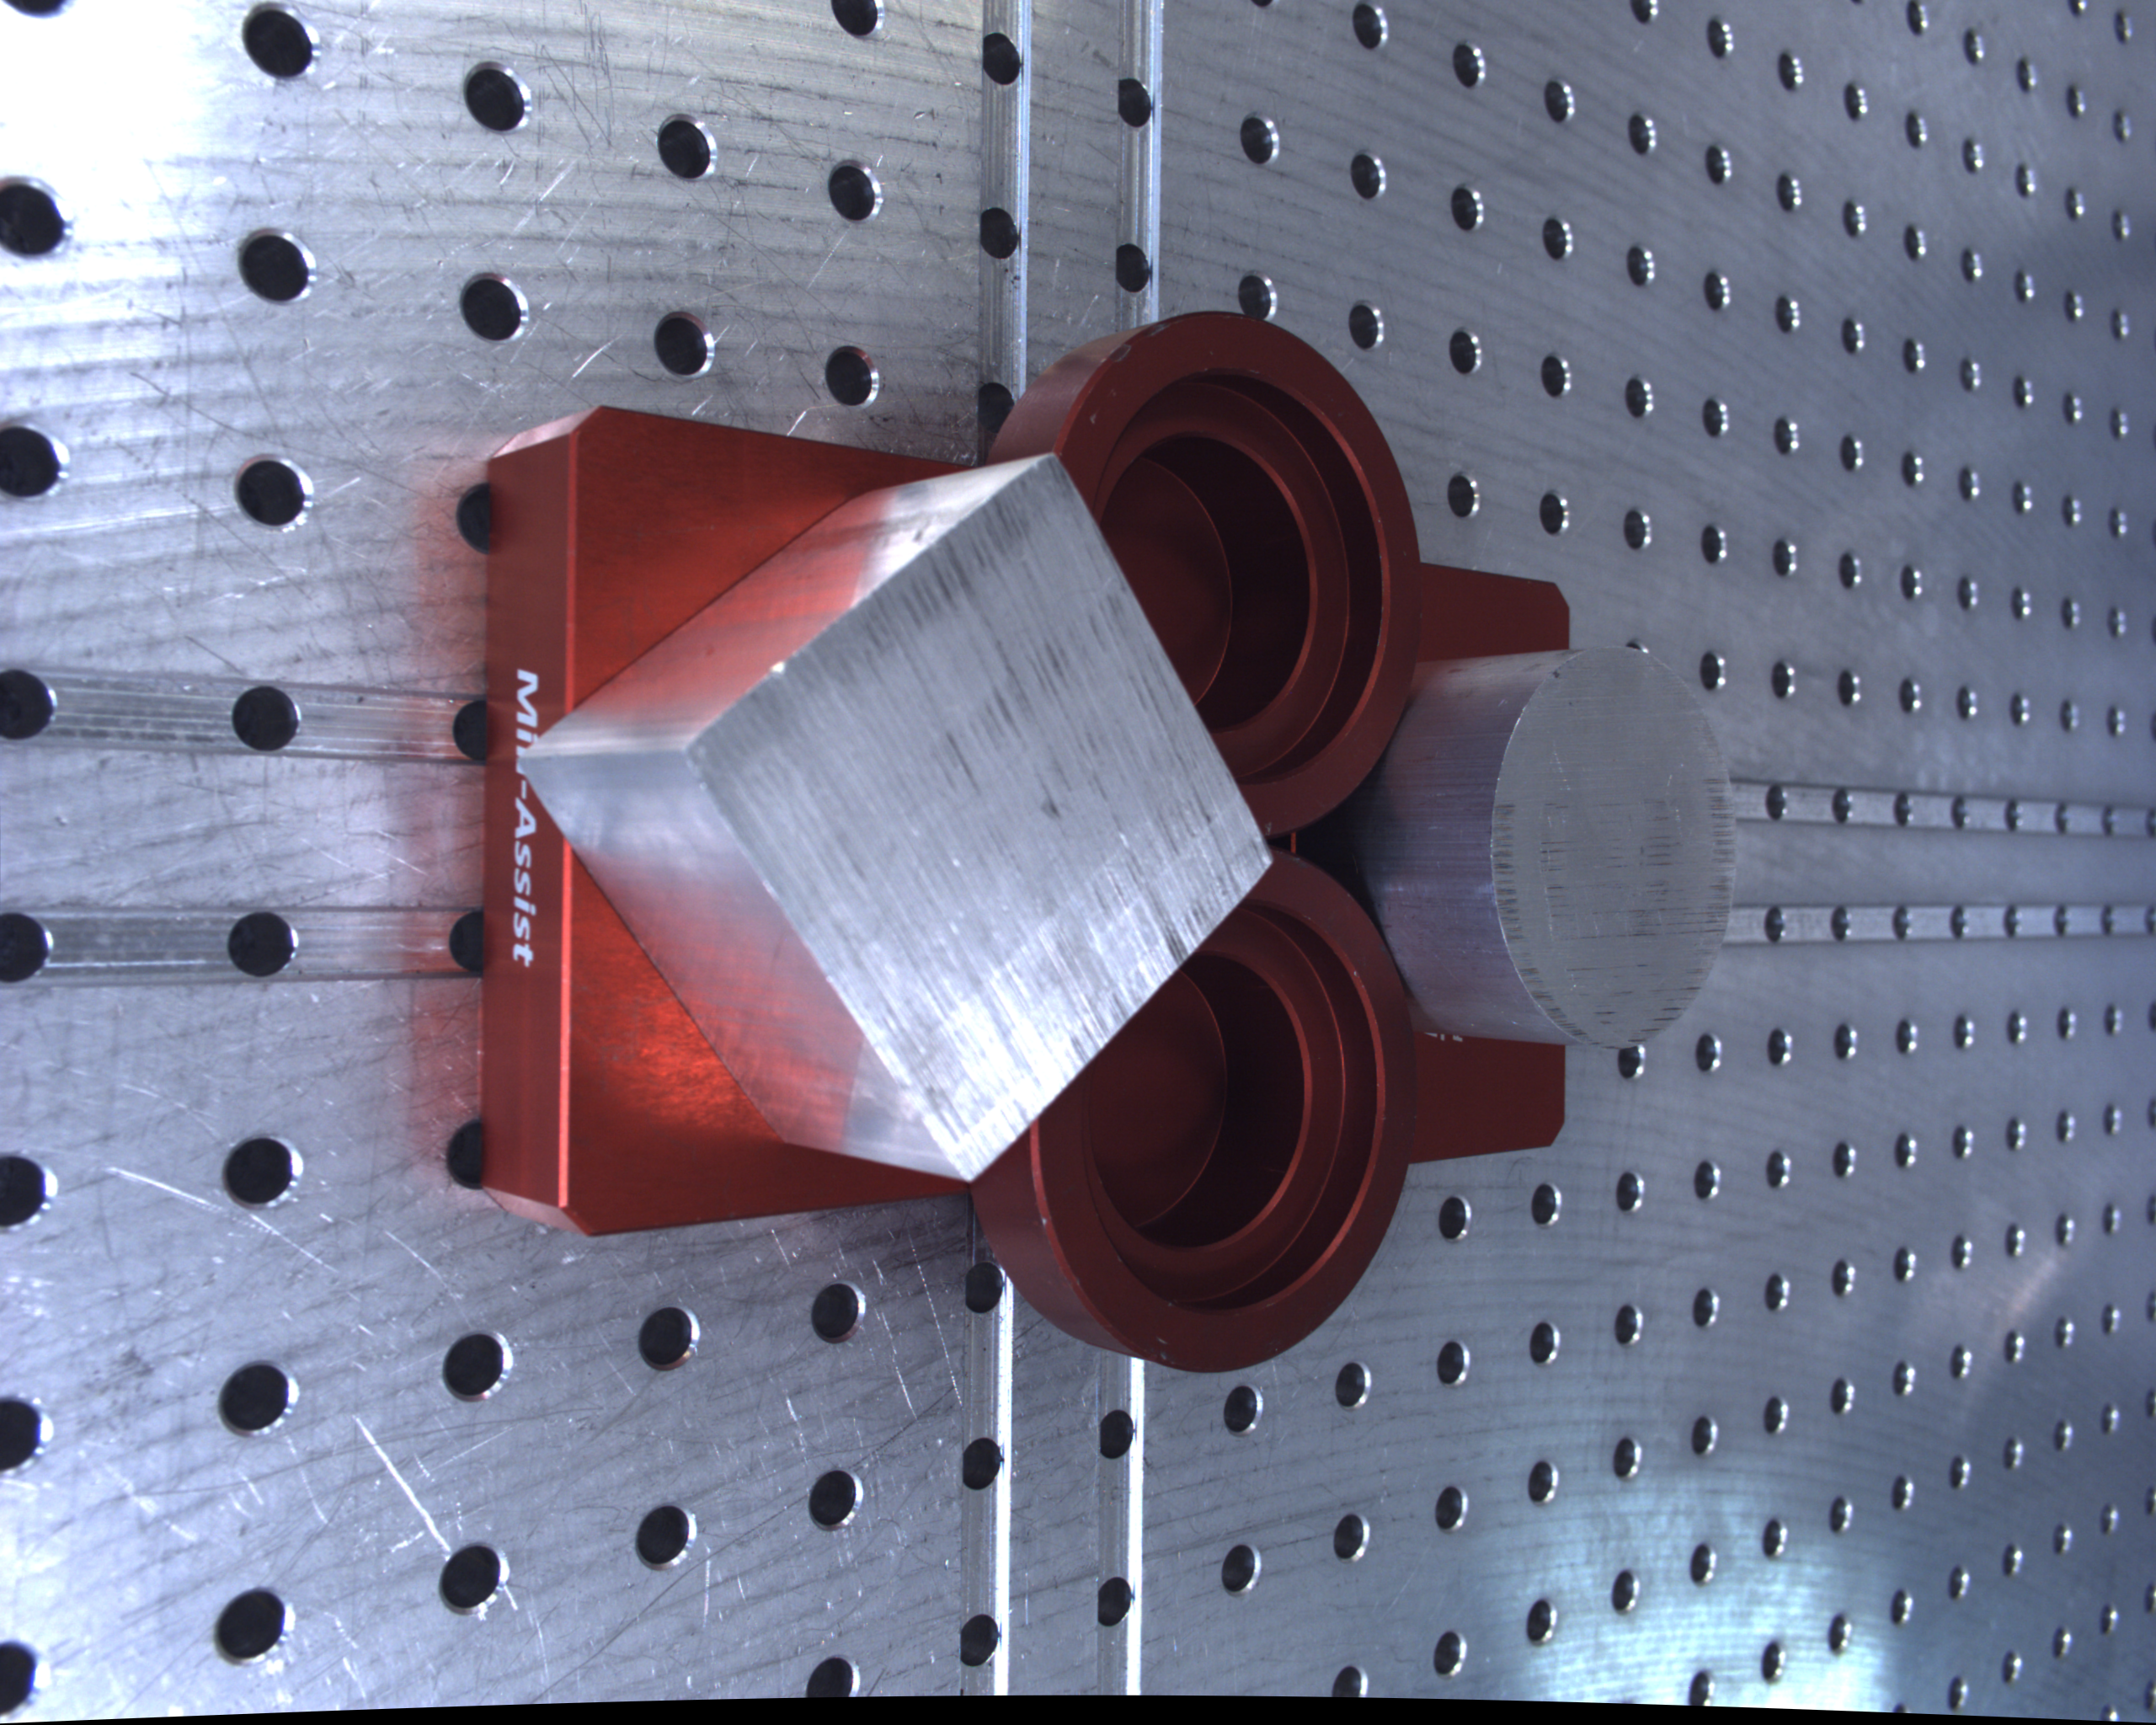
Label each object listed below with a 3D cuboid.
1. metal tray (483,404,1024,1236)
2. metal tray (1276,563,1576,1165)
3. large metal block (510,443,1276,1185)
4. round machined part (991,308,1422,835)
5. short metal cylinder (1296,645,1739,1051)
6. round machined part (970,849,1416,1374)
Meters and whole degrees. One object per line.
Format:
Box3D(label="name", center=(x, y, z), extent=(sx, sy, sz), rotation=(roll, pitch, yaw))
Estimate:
Box3D(label="metal tray", center=(-0.053, -0.007, 0.361), extent=(0.091, 0.030, 0.129), rotation=(1, 90, -41))
Box3D(label="metal tray", center=(0.070, 0.000, 0.462), extent=(0.091, 0.030, 0.129), rotation=(1, 90, -40))
Box3D(label="large metal block", center=(-0.026, -0.008, 0.331), extent=(0.080, 0.050, 0.080), rotation=(-44, 117, -31))
Box3D(label="round machined part", center=(0.018, -0.053, 0.401), extent=(0.099, 0.042, 0.097), rotation=(0, 90, -40))
Box3D(label="short metal cylinder", center=(0.091, -0.003, 0.429), extent=(0.081, 0.050, 0.079), rotation=(0, 90, -40))
Box3D(label="round machined part", center=(0.017, 0.045, 0.400), extent=(0.099, 0.042, 0.097), rotation=(0, 90, -40))
